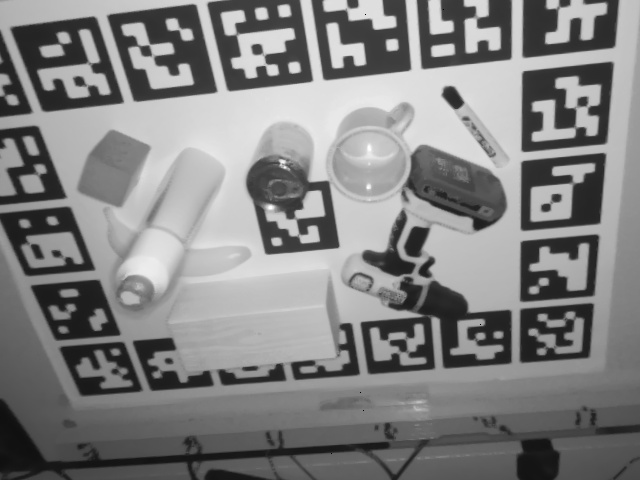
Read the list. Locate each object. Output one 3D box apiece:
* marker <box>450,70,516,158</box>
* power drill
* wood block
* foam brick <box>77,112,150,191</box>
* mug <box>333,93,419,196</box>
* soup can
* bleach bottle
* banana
[{"bbox_3d":[0.187,-0.145,0.797,0.019,0.020,0.121,-33,113,18],"label":"marker"},{"bbox_3d":[0.137,-0.004,0.863,0.185,0.058,0.184,22,120,-6],"label":"power drill"},{"bbox_3d":[-0.086,0.093,0.908,0.206,0.092,0.089,-5,119,6],"label":"wood block"},{"bbox_3d":[-0.240,-0.104,0.808,0.053,0.079,0.050,24,121,-13],"label":"foam brick"},{"bbox_3d":[0.070,-0.116,0.779,0.093,0.082,0.116,35,113,-13],"label":"mug"},{"bbox_3d":[-0.038,-0.096,0.779,0.068,0.103,0.067,2,125,4],"label":"soup can"},{"bbox_3d":[-0.162,-0.025,0.747,0.068,0.253,0.101,21,121,-9],"label":"bleach bottle"},{"bbox_3d":[-0.176,0.012,0.890,0.198,0.039,0.074,10,107,0],"label":"banana"}]
